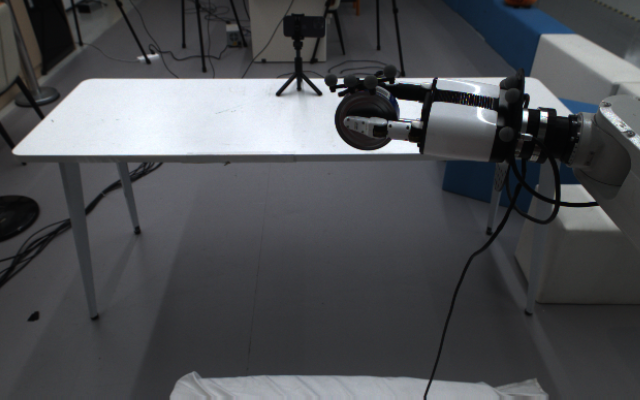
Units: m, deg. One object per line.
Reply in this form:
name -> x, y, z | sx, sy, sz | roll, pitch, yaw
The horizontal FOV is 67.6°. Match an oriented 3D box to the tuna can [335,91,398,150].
tuna can -> 0.066, -0.114, 0.663 | 0.085, 0.085, 0.034 | 10, 33, 11
